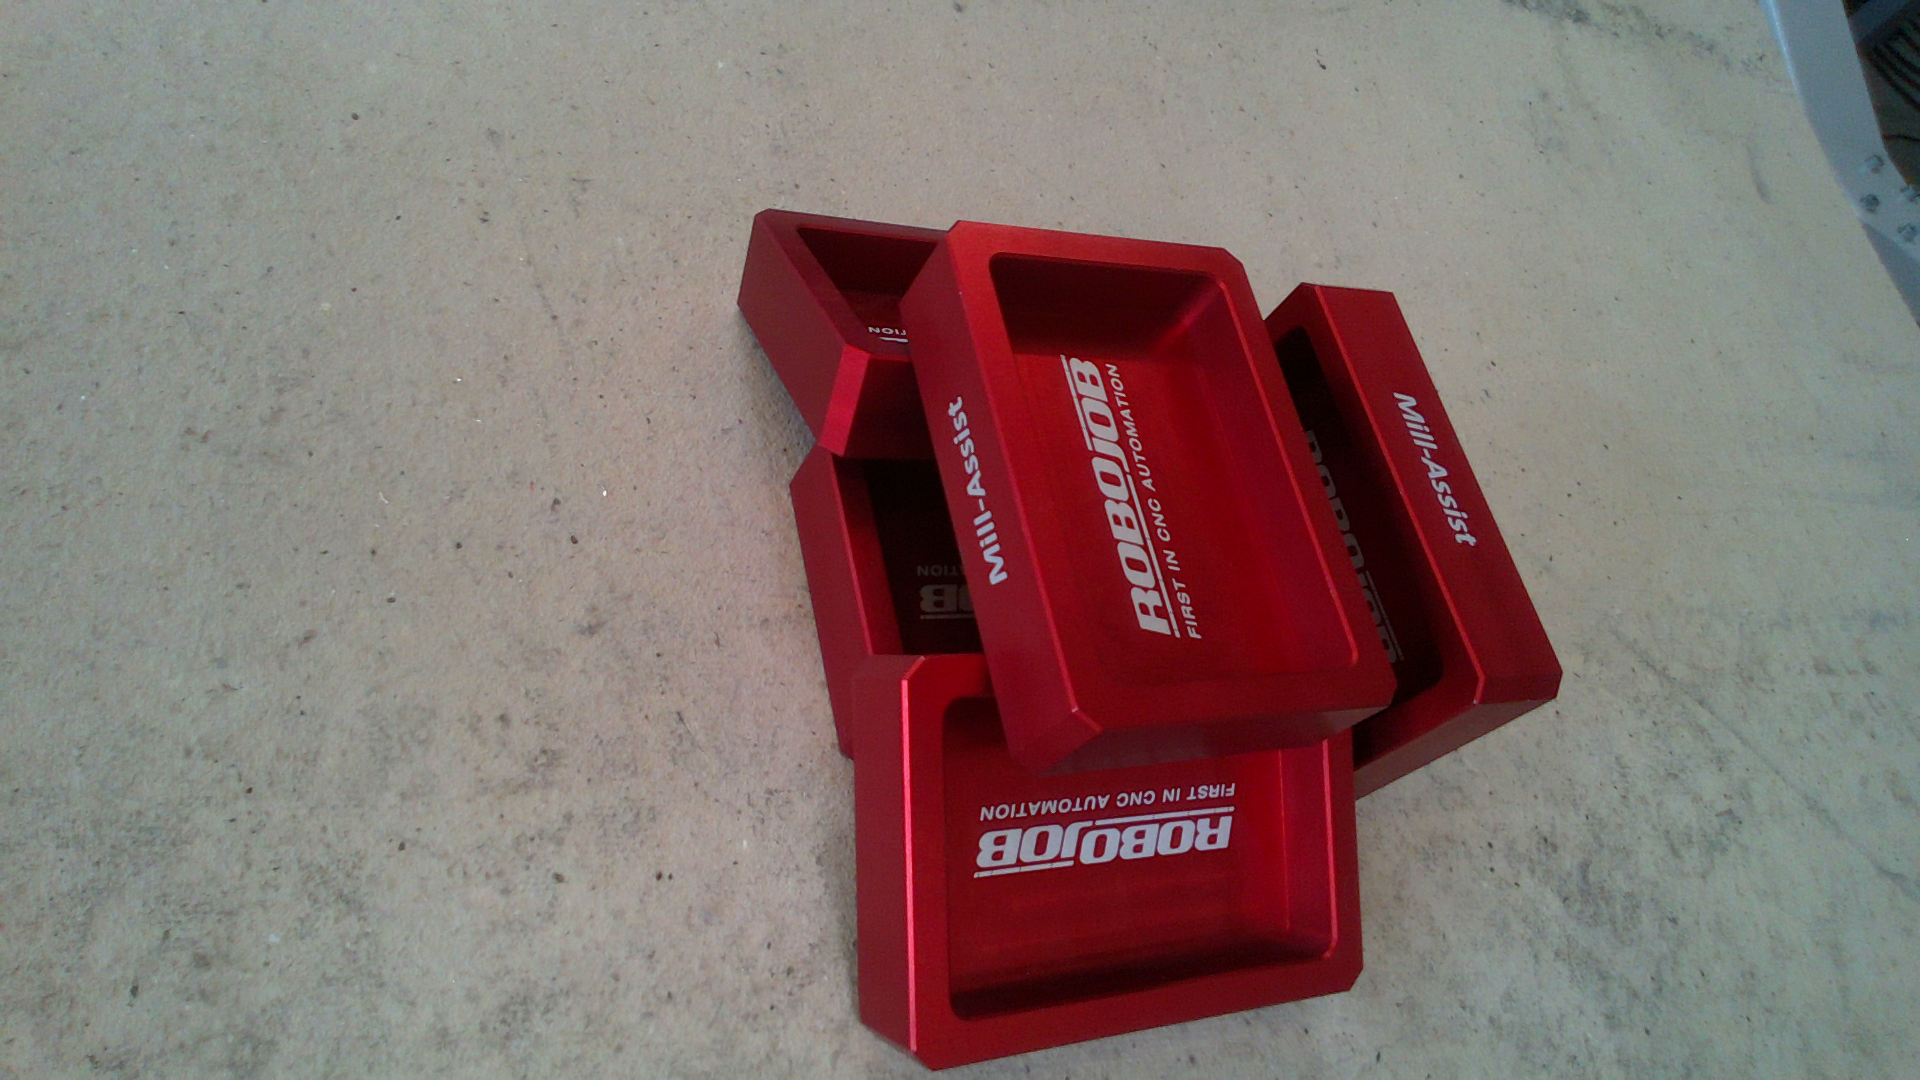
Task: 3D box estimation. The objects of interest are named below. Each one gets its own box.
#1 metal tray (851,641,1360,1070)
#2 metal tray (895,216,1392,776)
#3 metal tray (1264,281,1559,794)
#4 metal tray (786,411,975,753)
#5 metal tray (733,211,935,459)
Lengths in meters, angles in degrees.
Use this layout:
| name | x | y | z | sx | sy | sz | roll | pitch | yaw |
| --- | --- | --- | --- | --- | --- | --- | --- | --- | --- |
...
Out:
| name | x | y | z | sx | sy | sz | roll | pitch | yaw |
| --- | --- | --- | --- | --- | --- | --- | --- | --- | --- |
| metal tray | 0.039 | 0.071 | 0.342 | 0.130 | 0.030 | 0.090 | 0 | 86 | -28 |
| metal tray | 0.042 | -0.014 | 0.334 | 0.090 | 0.030 | 0.130 | -1 | 64 | -28 |
| metal tray | 0.109 | 0.002 | 0.405 | 0.030 | 0.090 | 0.130 | -1 | 62 | -28 |
| metal tray | 0.023 | 0.011 | 0.390 | 0.130 | 0.030 | 0.090 | -1 | 64 | -29 |
| metal tray | 0.009 | -0.059 | 0.405 | 0.130 | 0.030 | 0.090 | 0 | 35 | -29 |
